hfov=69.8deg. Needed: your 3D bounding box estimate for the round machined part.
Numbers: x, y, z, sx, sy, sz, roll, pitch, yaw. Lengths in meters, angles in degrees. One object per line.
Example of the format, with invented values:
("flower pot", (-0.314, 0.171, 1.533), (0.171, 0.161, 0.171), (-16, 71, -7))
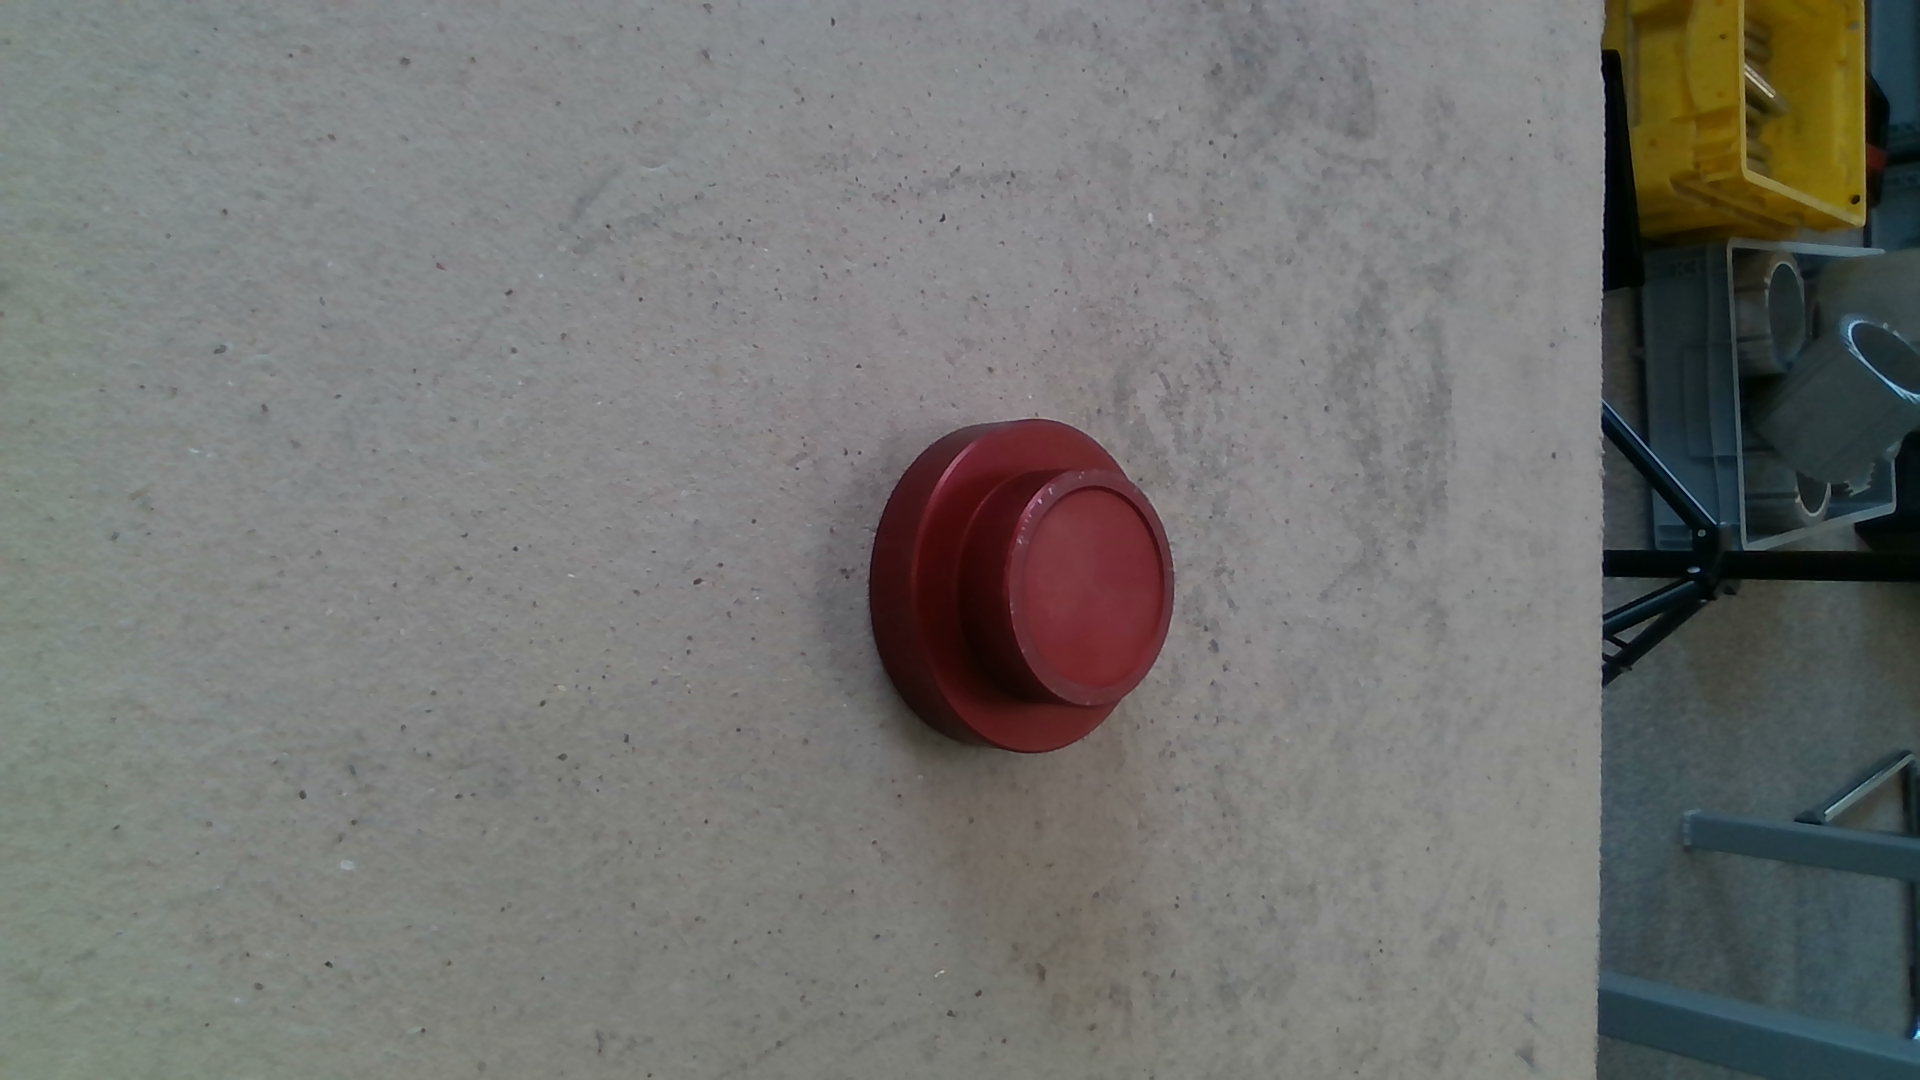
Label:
("round machined part", (0.024, 0.014, 0.401), (0.098, 0.042, 0.098), (0, 90, -40))
